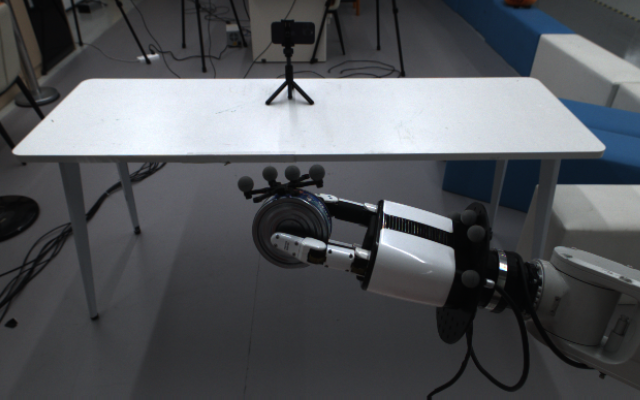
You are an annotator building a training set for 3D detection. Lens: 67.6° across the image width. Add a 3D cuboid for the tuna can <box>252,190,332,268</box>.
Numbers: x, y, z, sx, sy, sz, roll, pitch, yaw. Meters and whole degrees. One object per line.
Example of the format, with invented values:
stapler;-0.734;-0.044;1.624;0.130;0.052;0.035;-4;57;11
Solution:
tuna can;-0.027;0.038;0.533;0.085;0.085;0.034;6;18;5
